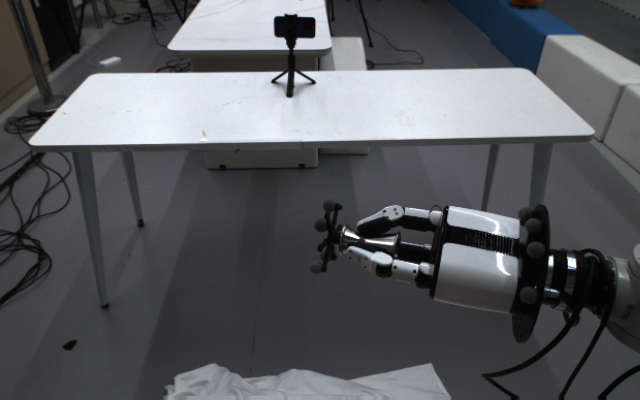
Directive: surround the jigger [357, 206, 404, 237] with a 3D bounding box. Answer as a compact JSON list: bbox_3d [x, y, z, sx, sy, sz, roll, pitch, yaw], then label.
[{"bbox_3d":[0.068,0.052,0.597,0.071,0.043,0.043,9,35,17],"label":"jigger"}]
